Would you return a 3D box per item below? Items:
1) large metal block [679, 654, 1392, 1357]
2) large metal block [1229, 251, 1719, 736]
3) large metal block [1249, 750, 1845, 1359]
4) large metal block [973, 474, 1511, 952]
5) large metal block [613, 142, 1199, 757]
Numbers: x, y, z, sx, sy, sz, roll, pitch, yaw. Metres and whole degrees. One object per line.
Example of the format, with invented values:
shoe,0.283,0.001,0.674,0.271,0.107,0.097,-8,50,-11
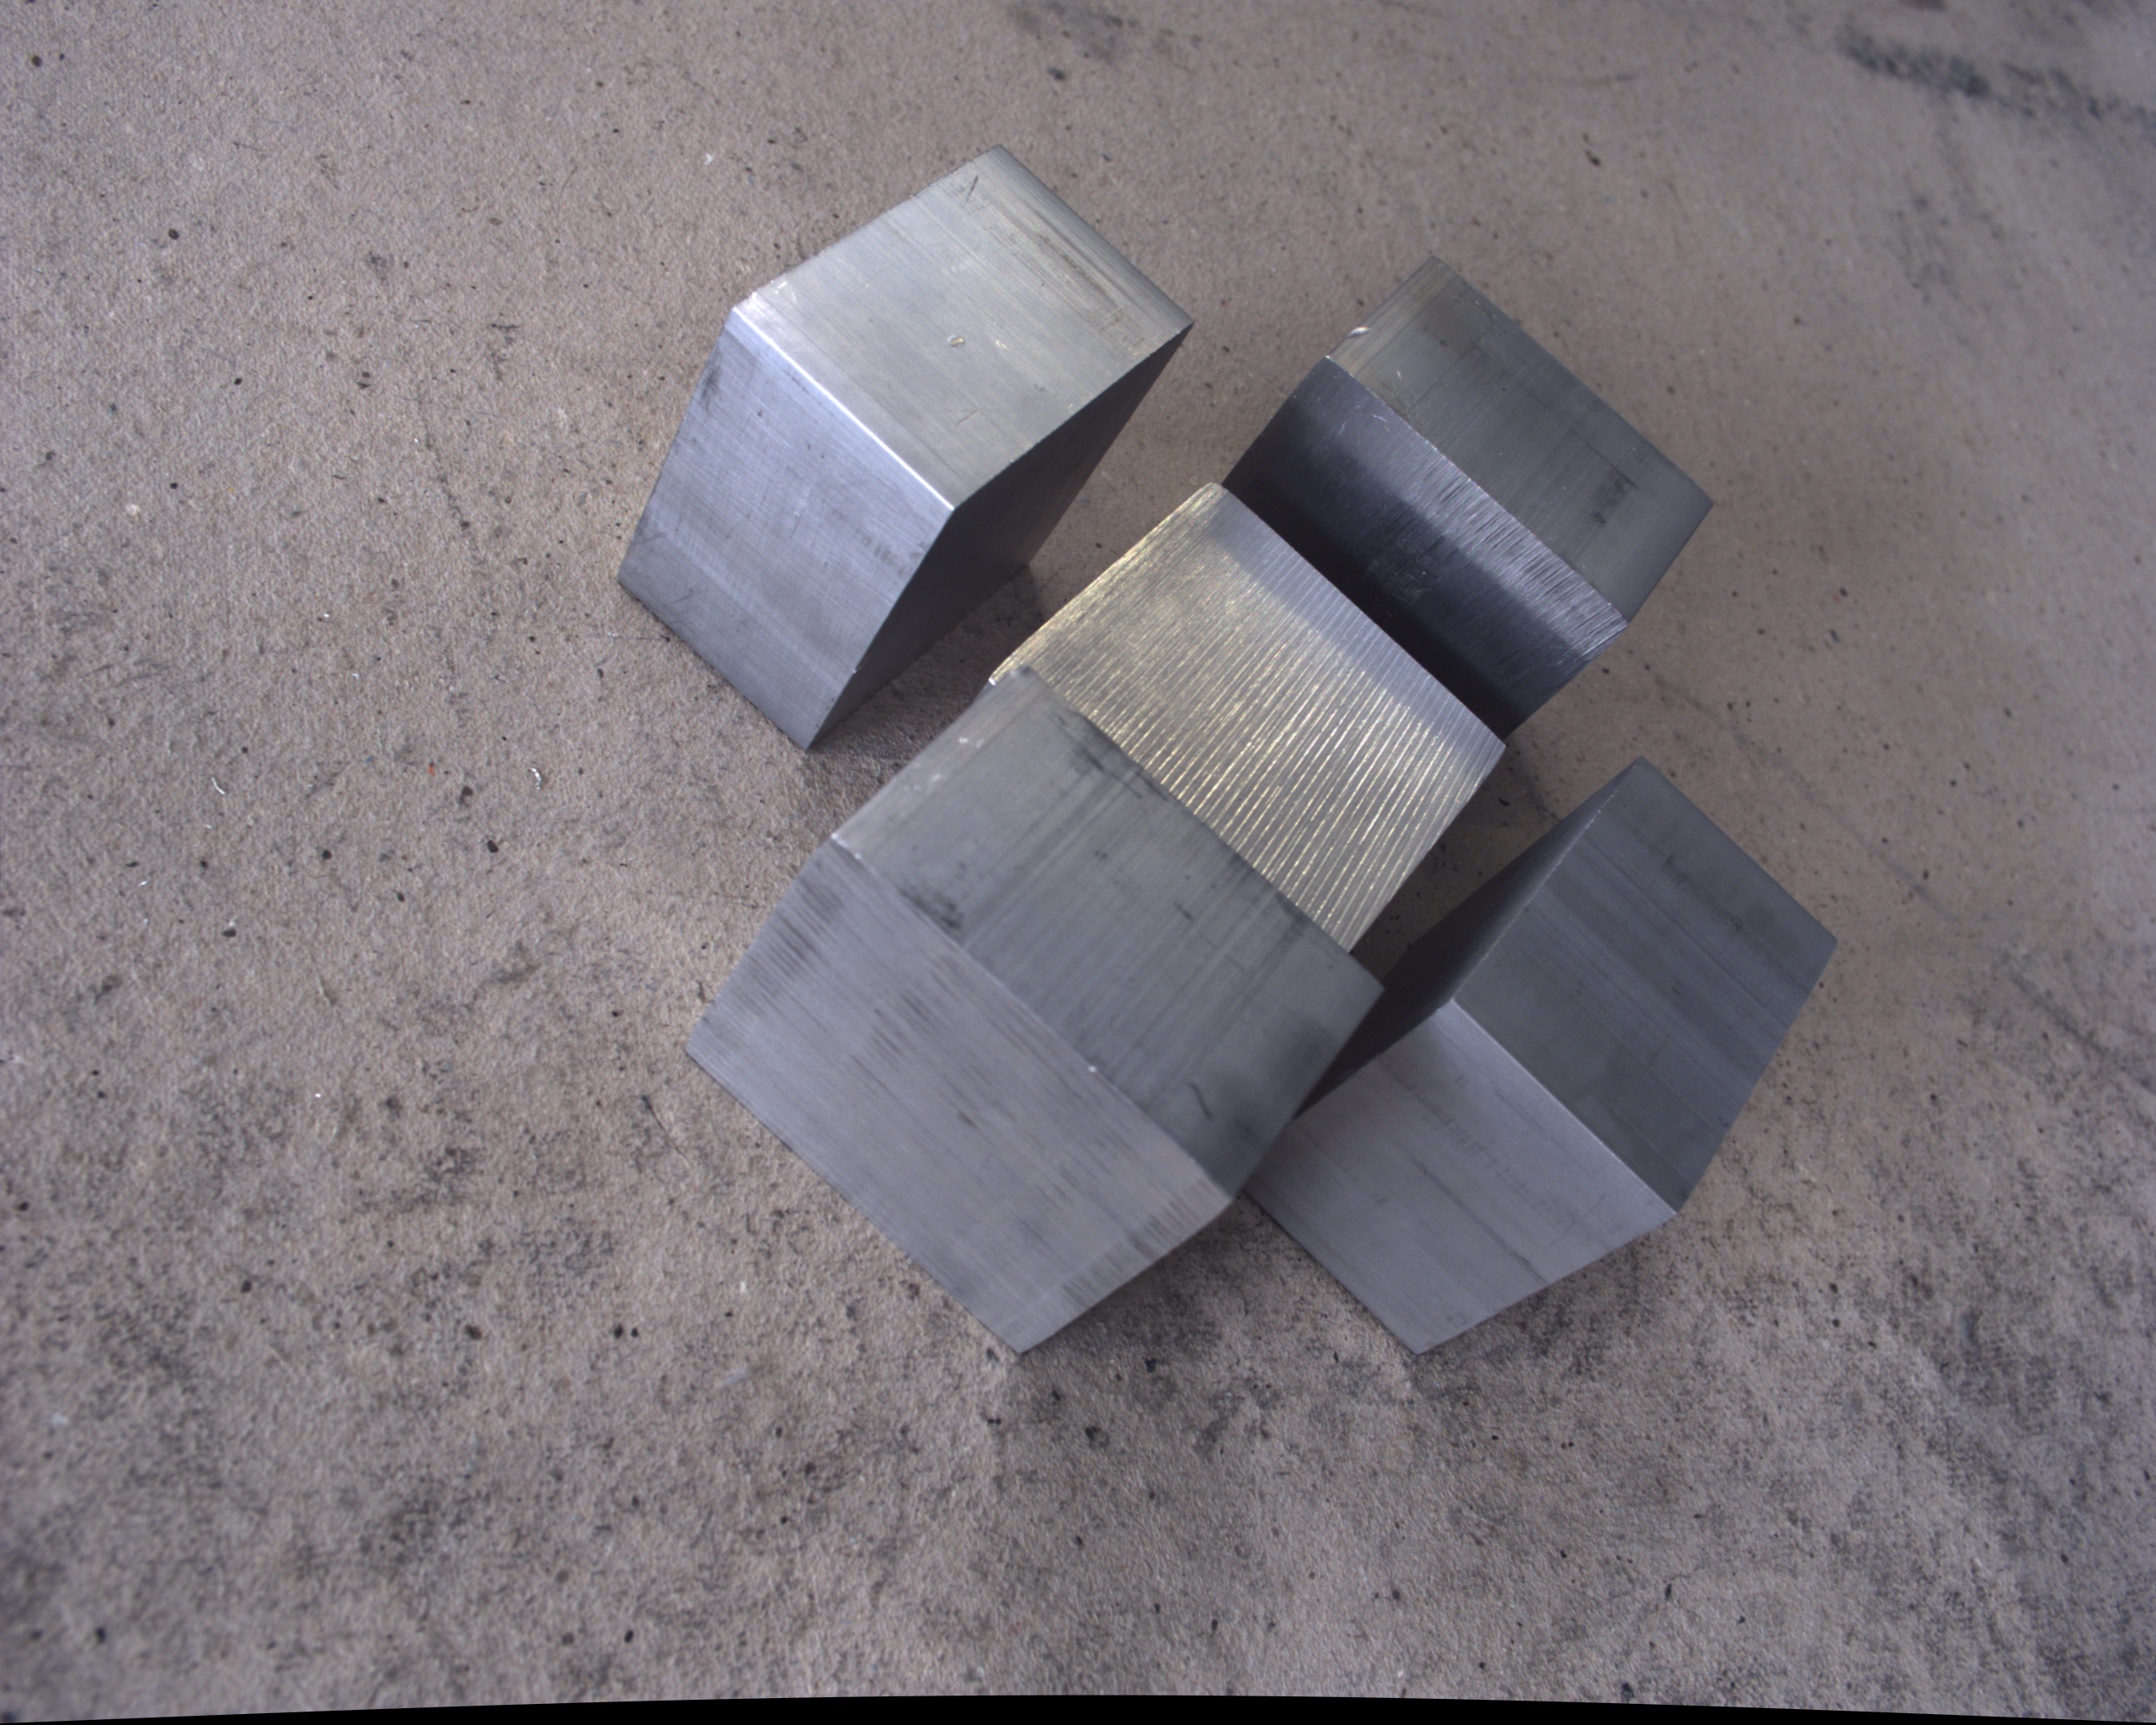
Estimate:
large metal block,-0.010,0.026,0.348,0.080,0.080,0.050,42,51,1
large metal block,0.074,-0.068,0.451,0.080,0.080,0.050,42,50,0
large metal block,0.085,0.037,0.392,0.050,0.080,0.080,44,51,3
large metal block,0.024,-0.016,0.409,0.080,0.050,0.080,43,51,1
large metal block,-0.034,-0.079,0.400,0.050,0.080,0.080,43,51,1
